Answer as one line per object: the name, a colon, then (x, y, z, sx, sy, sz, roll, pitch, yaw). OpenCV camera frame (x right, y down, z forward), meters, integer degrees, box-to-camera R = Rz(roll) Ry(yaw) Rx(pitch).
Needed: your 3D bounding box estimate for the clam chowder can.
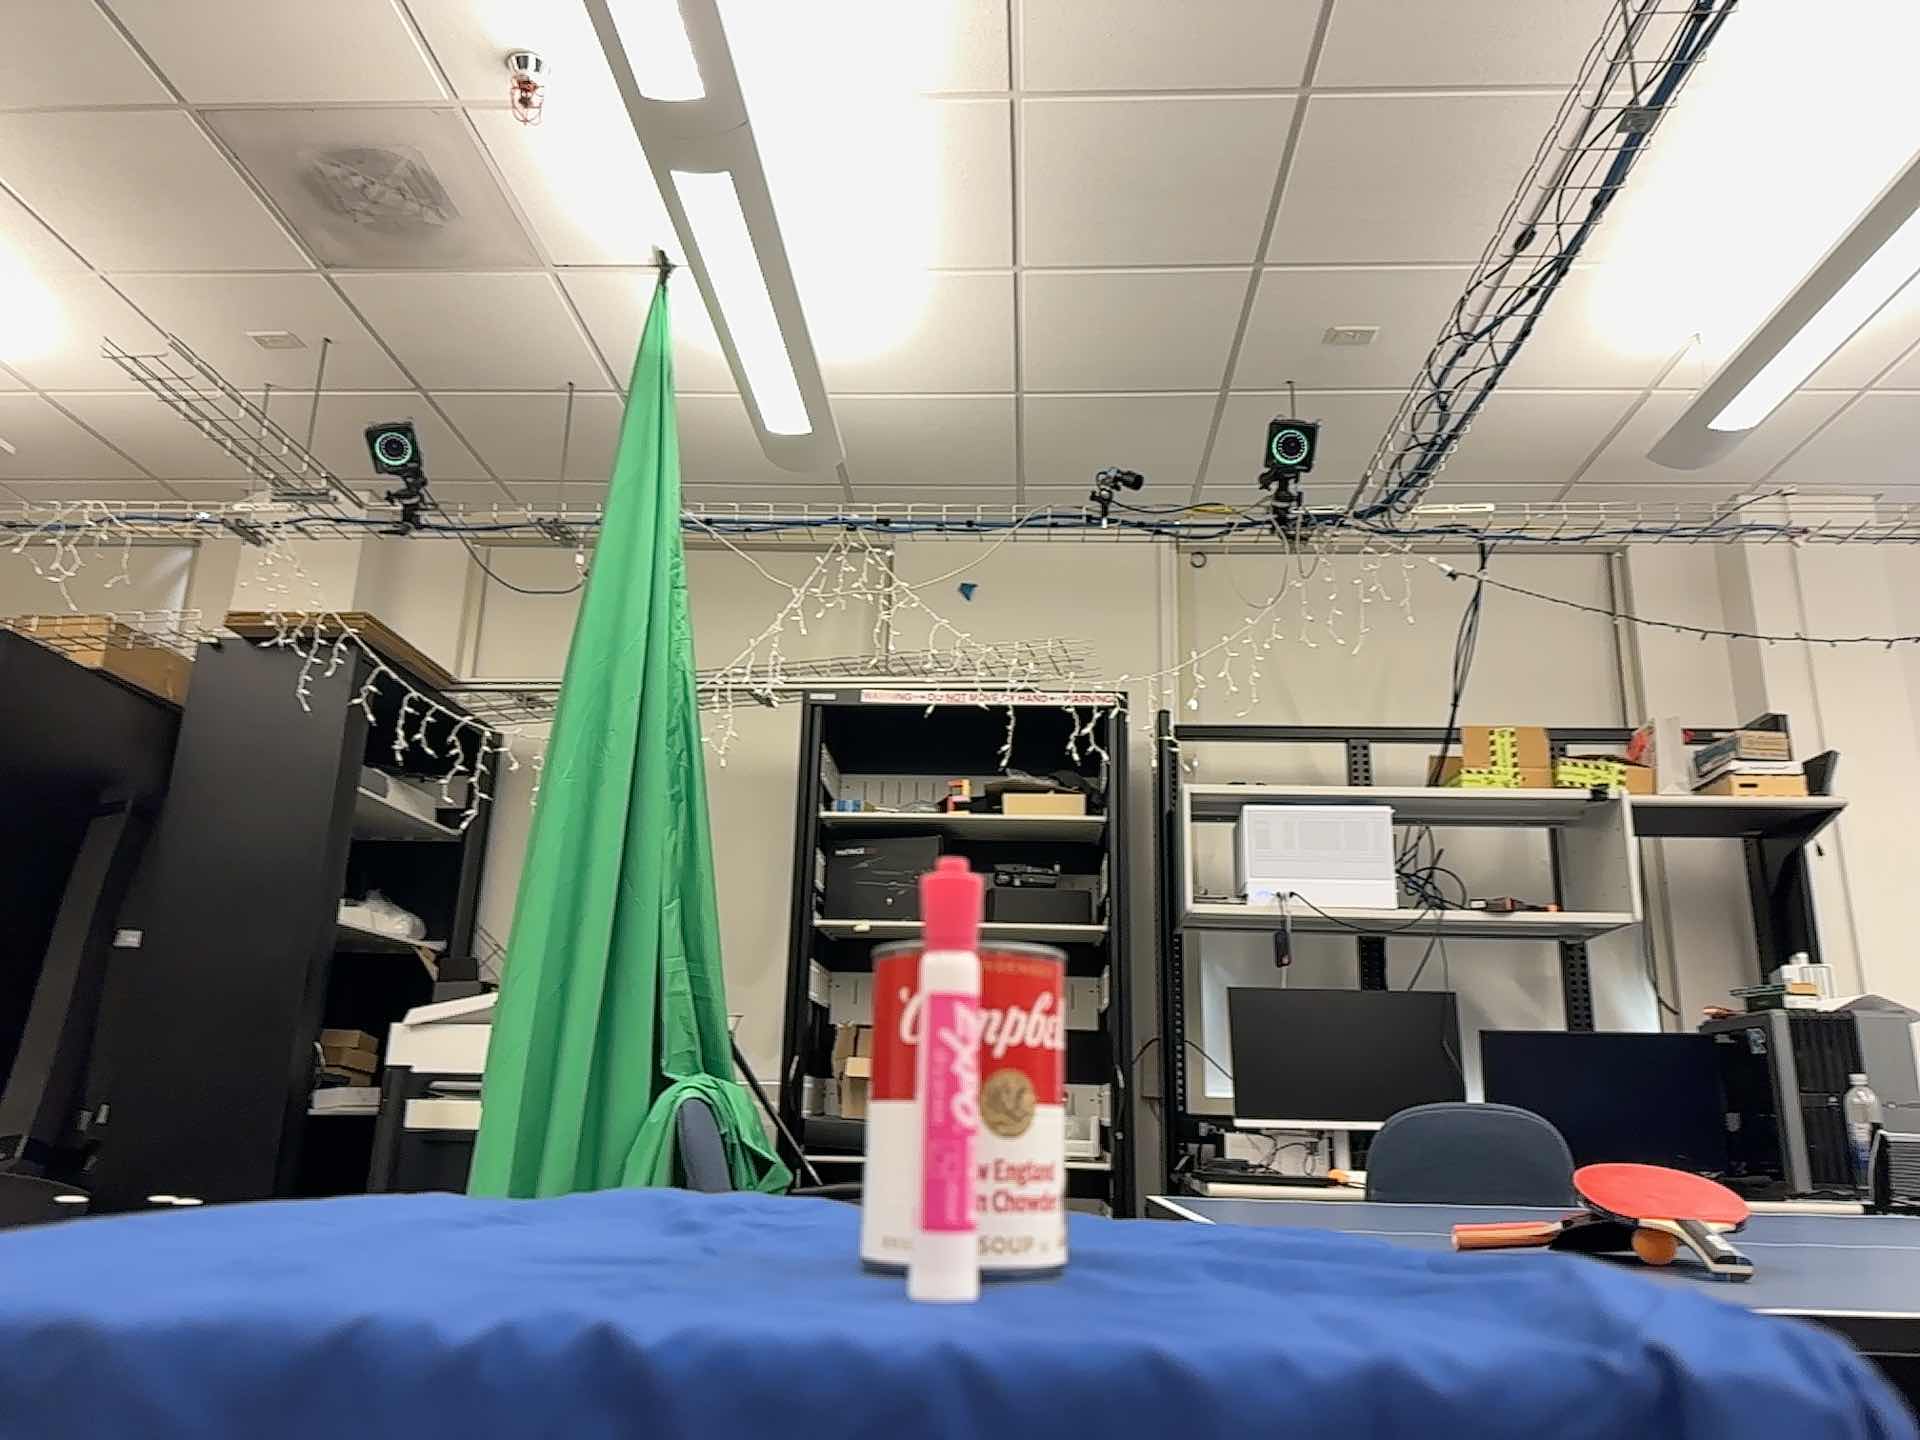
clam chowder can: (0.003, 0.126, 0.449, 0.068, 0.102, 0.068, 2, -13, 0)

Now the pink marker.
pink marker: (-0.003, 0.099, 0.384, 0.020, 0.121, 0.020, 1, -14, 0)
